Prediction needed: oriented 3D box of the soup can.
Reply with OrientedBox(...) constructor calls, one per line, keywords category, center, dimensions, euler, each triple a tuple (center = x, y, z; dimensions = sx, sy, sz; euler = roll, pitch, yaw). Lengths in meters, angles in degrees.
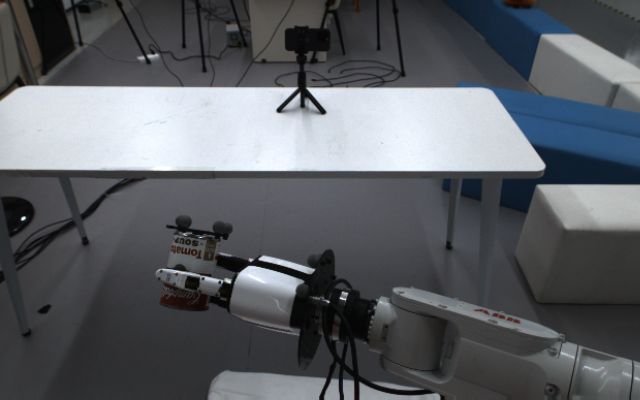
OrientedBox(category="soup can", center=(-0.180, 0.101, 0.679), dimensions=(0.067, 0.101, 0.067), euler=(9, -5, 1))
